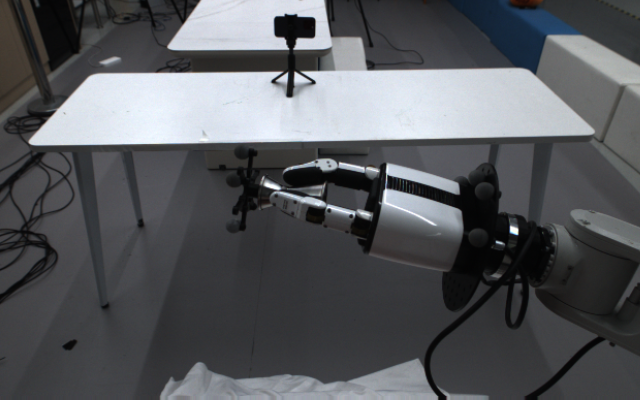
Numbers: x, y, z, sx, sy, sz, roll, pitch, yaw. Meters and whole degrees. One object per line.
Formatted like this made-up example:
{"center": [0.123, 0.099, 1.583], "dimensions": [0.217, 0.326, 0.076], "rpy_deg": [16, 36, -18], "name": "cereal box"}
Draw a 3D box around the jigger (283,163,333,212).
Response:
{"center": [-0.021, -0.006, 0.521], "dimensions": [0.071, 0.043, 0.043], "rpy_deg": [8, 35, 5], "name": "jigger"}
